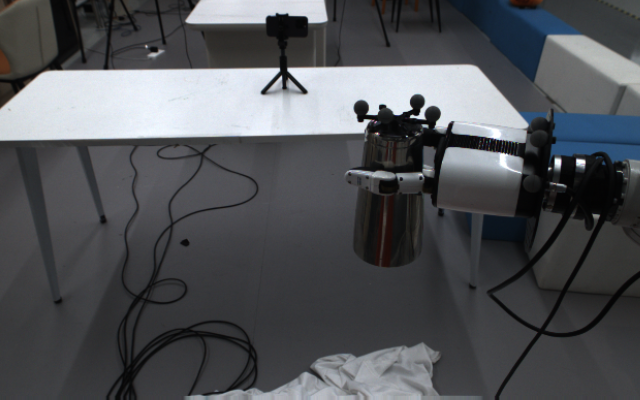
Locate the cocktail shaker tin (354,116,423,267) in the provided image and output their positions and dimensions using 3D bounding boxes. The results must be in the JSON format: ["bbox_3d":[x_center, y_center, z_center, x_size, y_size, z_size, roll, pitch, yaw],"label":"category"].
[{"bbox_3d":[0.092,-0.015,0.602,0.093,0.170,0.093,-1,32,1],"label":"cocktail shaker tin"}]
